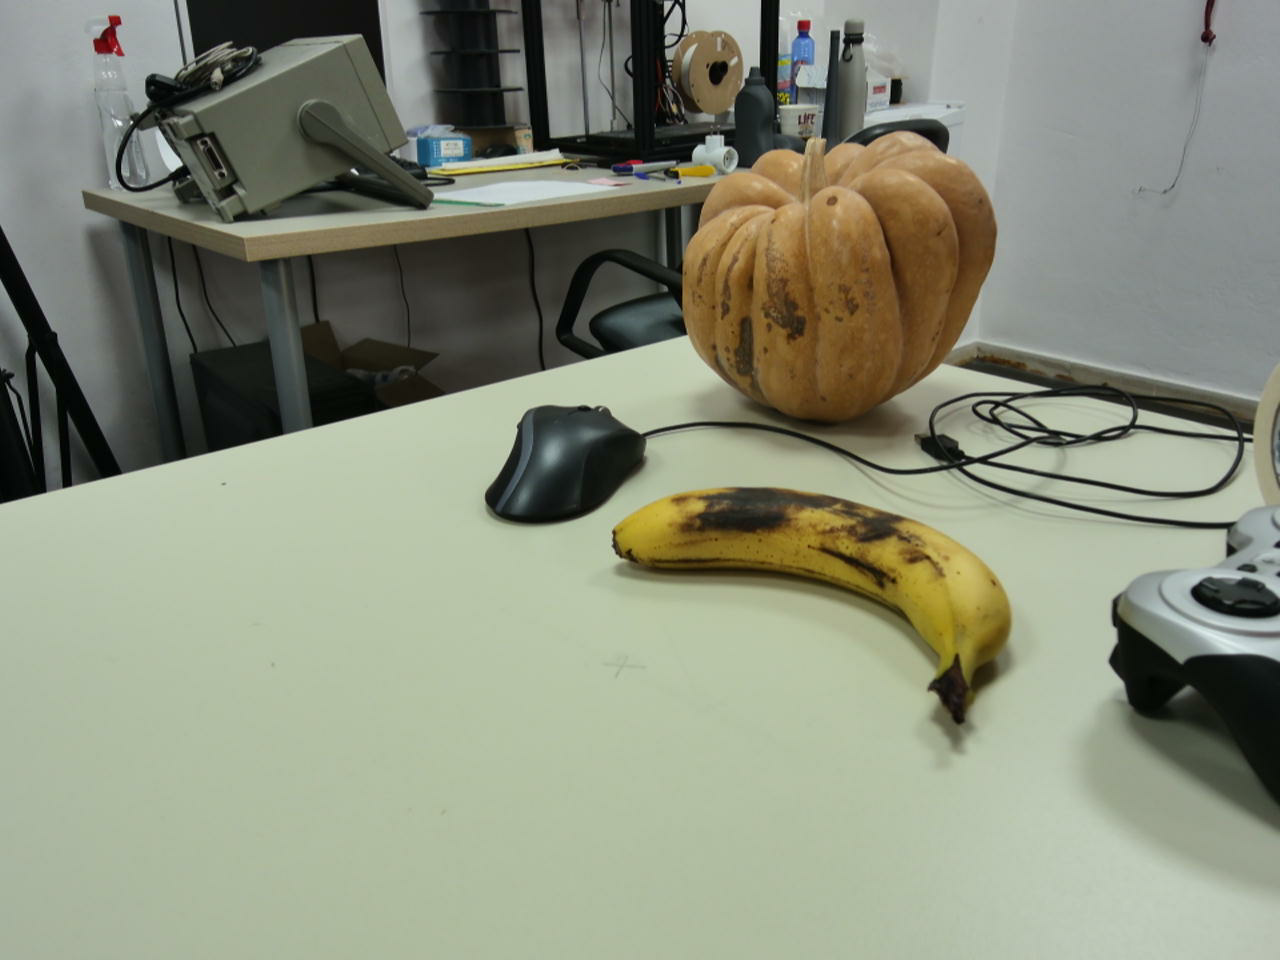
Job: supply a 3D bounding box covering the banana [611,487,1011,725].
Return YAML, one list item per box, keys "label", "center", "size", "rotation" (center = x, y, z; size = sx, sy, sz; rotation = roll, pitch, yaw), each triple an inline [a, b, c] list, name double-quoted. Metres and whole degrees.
- label: "banana"
  center: [0.080, 0.038, 0.433]
  size: [0.094, 0.039, 0.187]
  rotation: [-18, 27, -37]
